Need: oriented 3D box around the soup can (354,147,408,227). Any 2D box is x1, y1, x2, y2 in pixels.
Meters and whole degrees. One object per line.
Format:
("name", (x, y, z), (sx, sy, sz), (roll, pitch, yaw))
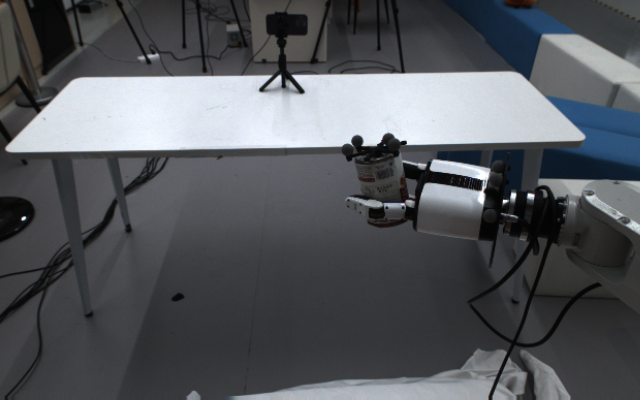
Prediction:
("soup can", (0.093, -0.020, 0.699), (0.067, 0.101, 0.067), (-13, 20, 5))
